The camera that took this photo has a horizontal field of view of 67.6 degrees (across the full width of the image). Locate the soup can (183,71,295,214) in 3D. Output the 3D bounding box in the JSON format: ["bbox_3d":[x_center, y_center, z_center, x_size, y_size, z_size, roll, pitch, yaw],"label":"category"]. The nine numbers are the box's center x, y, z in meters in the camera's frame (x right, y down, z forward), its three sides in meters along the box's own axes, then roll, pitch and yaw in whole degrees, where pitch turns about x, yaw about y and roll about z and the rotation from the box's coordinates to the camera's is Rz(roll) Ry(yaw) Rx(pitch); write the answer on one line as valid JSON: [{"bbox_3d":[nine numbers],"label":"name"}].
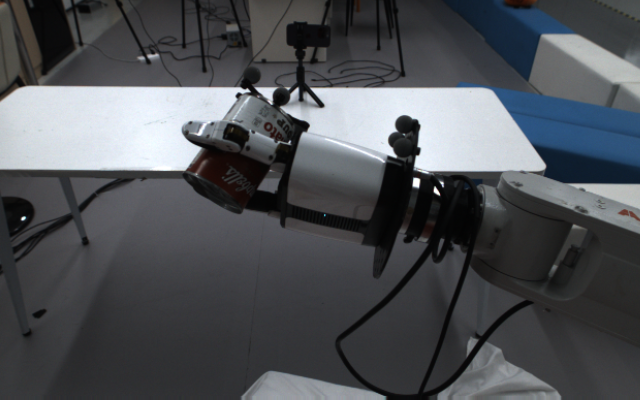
[{"bbox_3d":[-0.077,-0.045,0.477,0.067,0.067,0.101,23,72,28],"label":"soup can"}]
